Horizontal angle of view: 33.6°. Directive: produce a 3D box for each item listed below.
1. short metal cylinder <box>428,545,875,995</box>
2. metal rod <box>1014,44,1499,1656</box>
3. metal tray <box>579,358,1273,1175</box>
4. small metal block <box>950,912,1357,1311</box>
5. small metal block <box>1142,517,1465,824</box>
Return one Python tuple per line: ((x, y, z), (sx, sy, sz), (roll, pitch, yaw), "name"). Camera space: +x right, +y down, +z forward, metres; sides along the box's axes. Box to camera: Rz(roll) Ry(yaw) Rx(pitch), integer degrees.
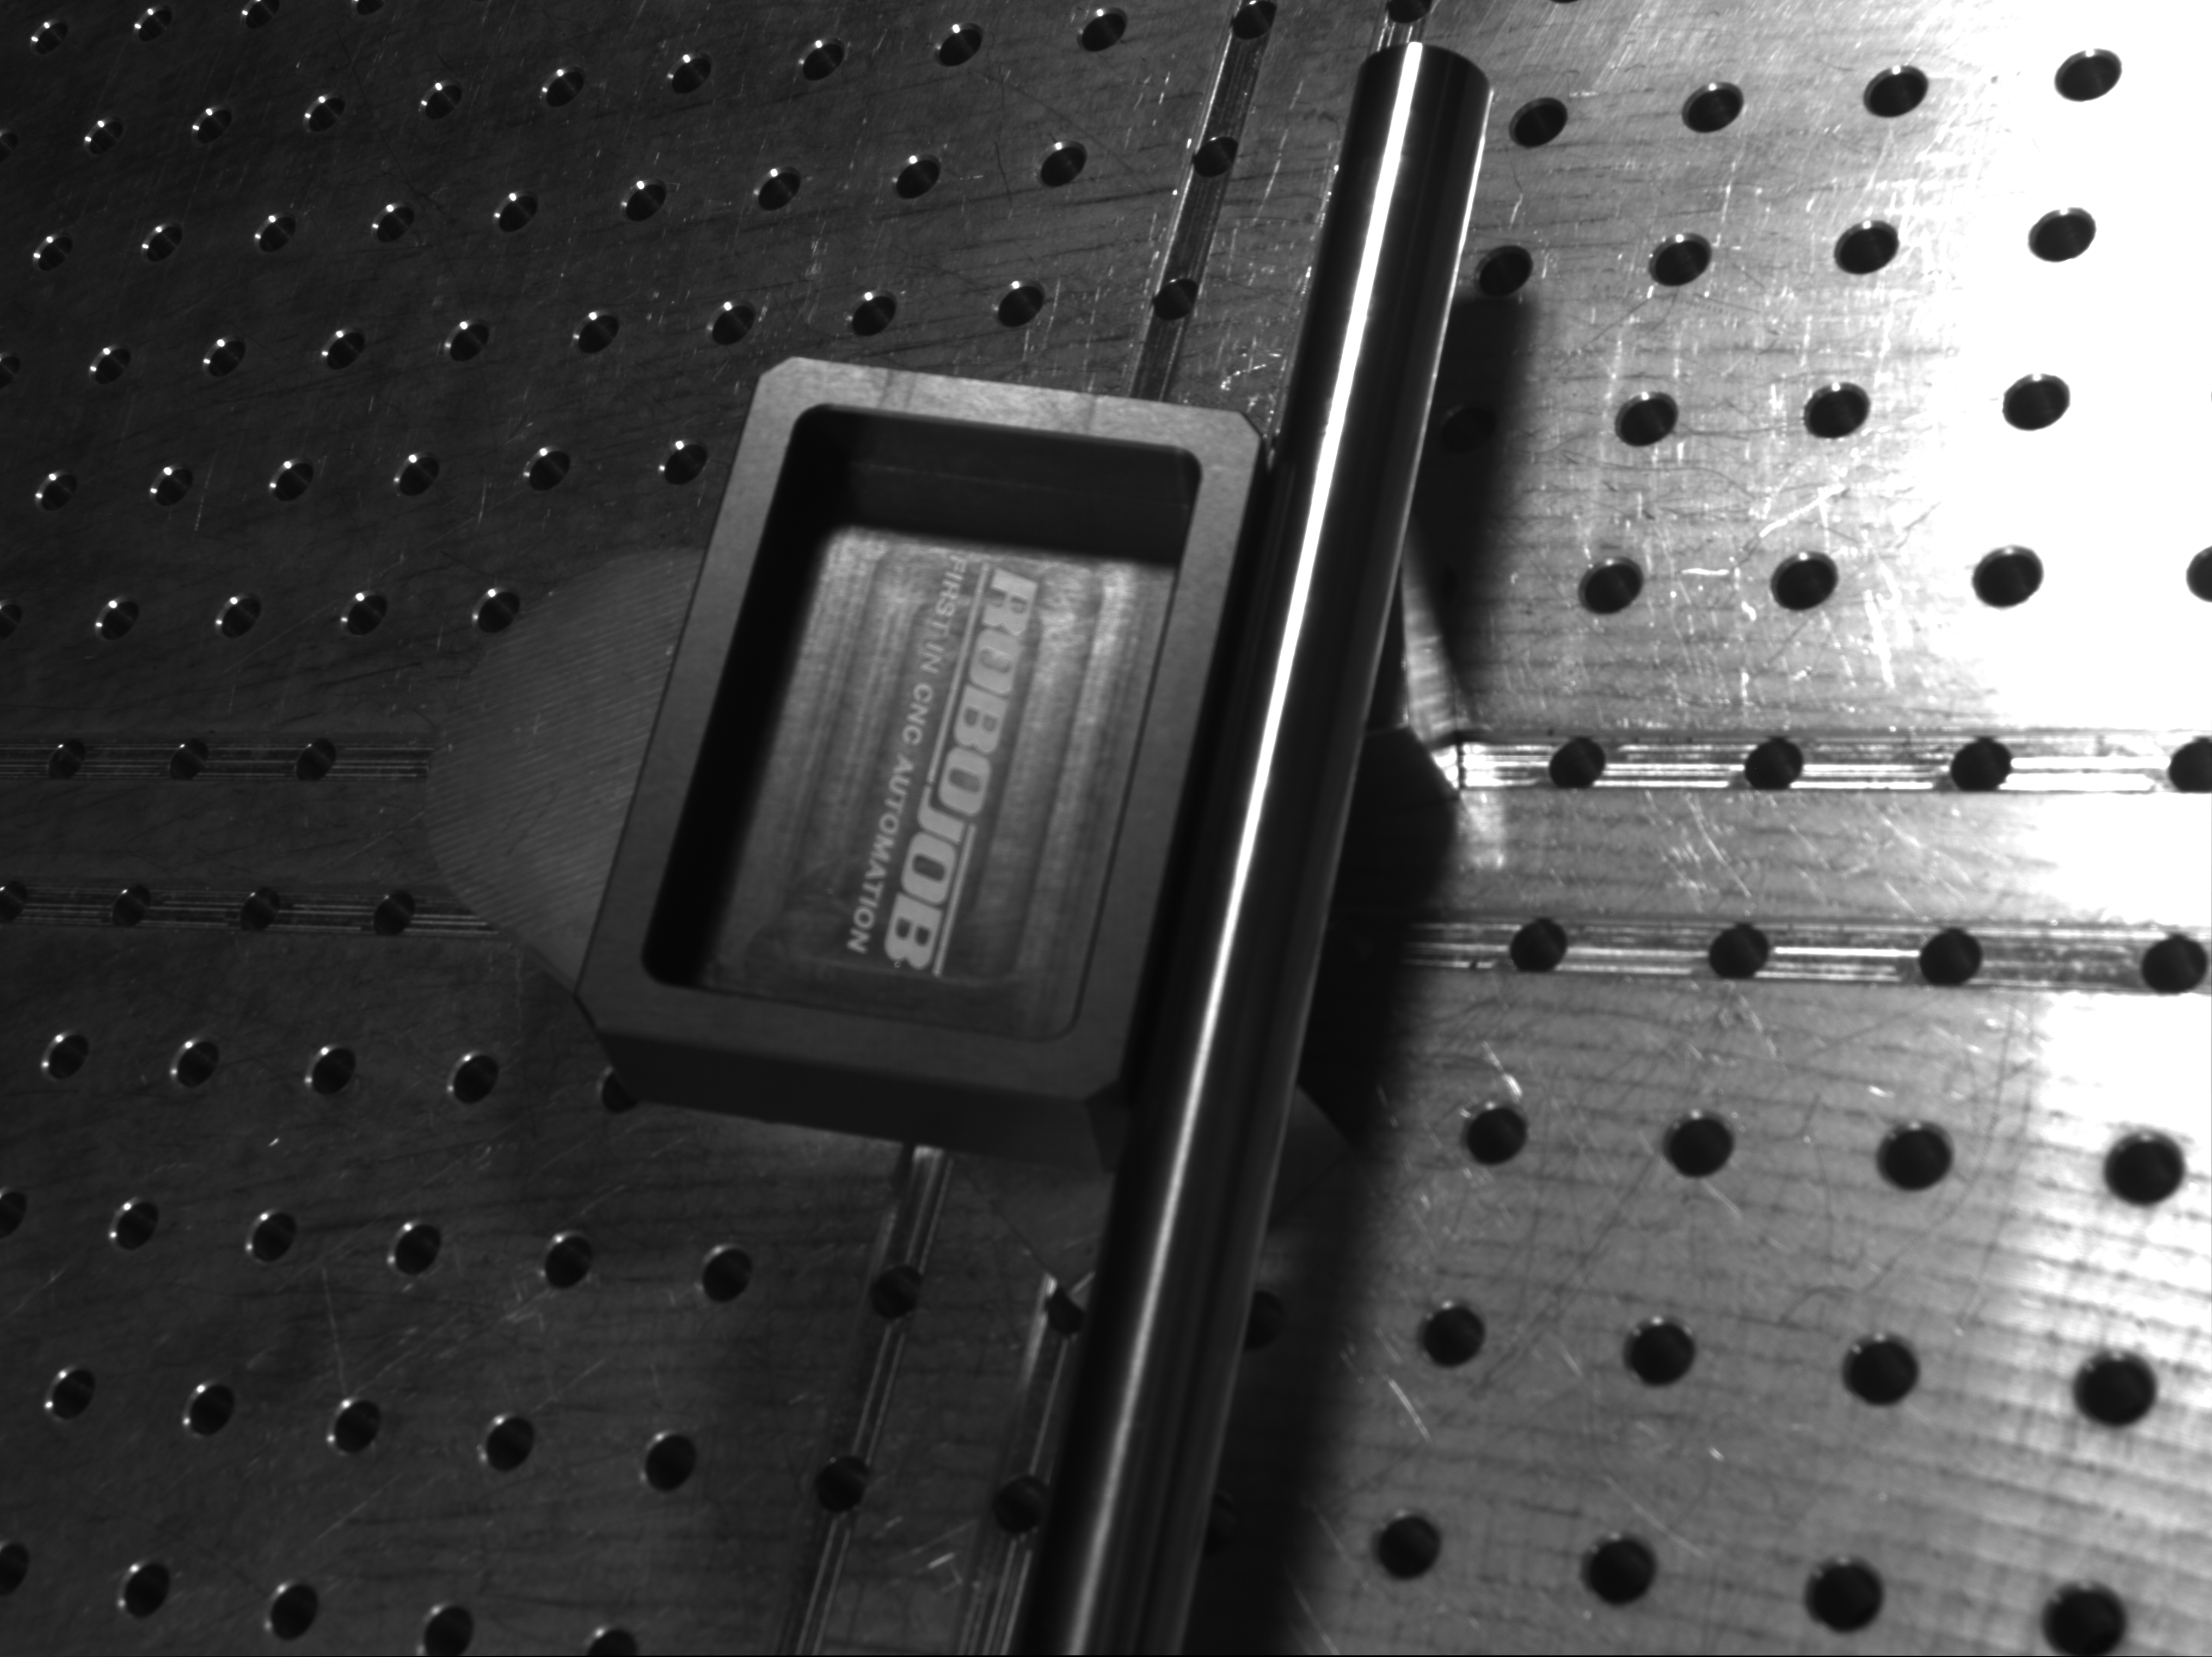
((-0.077, -0.005, 0.675), (0.080, 0.050, 0.080), (-13, 56, 21), "short metal cylinder")
((0.028, -0.003, 0.601), (0.025, 0.025, 0.300), (-1, 61, 28), "metal rod")
((-0.027, -0.013, 0.615), (0.090, 0.030, 0.130), (8, 64, 10), "metal tray")
((0.005, 0.050, 0.612), (0.050, 0.025, 0.050), (-43, 51, -2), "small metal block")
((0.034, -0.027, 0.646), (0.050, 0.025, 0.050), (-14, 56, 20), "small metal block")
